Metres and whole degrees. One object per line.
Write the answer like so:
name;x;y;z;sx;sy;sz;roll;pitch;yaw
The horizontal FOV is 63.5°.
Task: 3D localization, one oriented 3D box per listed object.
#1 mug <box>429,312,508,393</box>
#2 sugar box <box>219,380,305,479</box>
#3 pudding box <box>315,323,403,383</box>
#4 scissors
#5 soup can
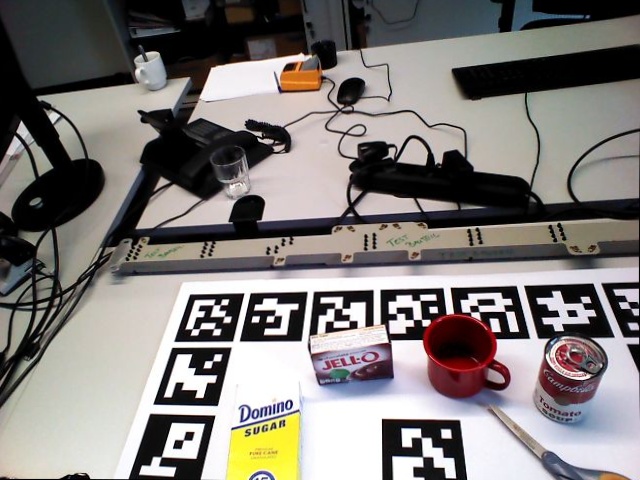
mug;0.202;0.154;0.684;0.093;0.081;0.117;-29;45;-12
sugar box;-0.074;0.270;0.667;0.093;0.045;0.175;-6;46;11
pudding box;0.054;0.155;0.709;0.114;0.090;0.038;-9;50;5
scissors;0.283;0.268;0.593;0.087;0.016;0.203;-39;49;-11
soup can;0.310;0.176;0.631;0.068;0.102;0.067;-8;43;7
